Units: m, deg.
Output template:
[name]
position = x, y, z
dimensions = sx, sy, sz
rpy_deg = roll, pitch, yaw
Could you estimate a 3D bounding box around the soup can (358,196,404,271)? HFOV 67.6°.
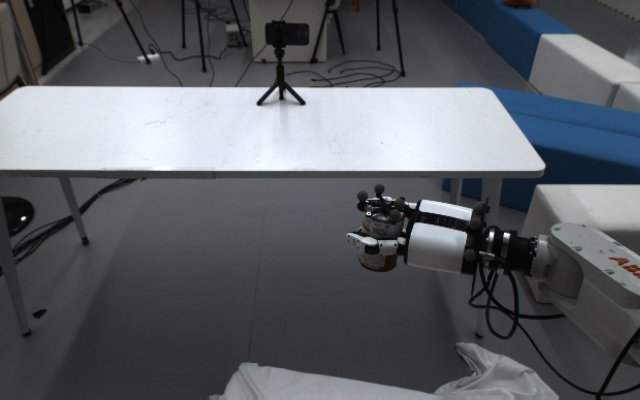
[soup can]
position = 0.101, 0.059, 0.799
dimensions = 0.067, 0.101, 0.067
rpy_deg = 3, 30, -2
